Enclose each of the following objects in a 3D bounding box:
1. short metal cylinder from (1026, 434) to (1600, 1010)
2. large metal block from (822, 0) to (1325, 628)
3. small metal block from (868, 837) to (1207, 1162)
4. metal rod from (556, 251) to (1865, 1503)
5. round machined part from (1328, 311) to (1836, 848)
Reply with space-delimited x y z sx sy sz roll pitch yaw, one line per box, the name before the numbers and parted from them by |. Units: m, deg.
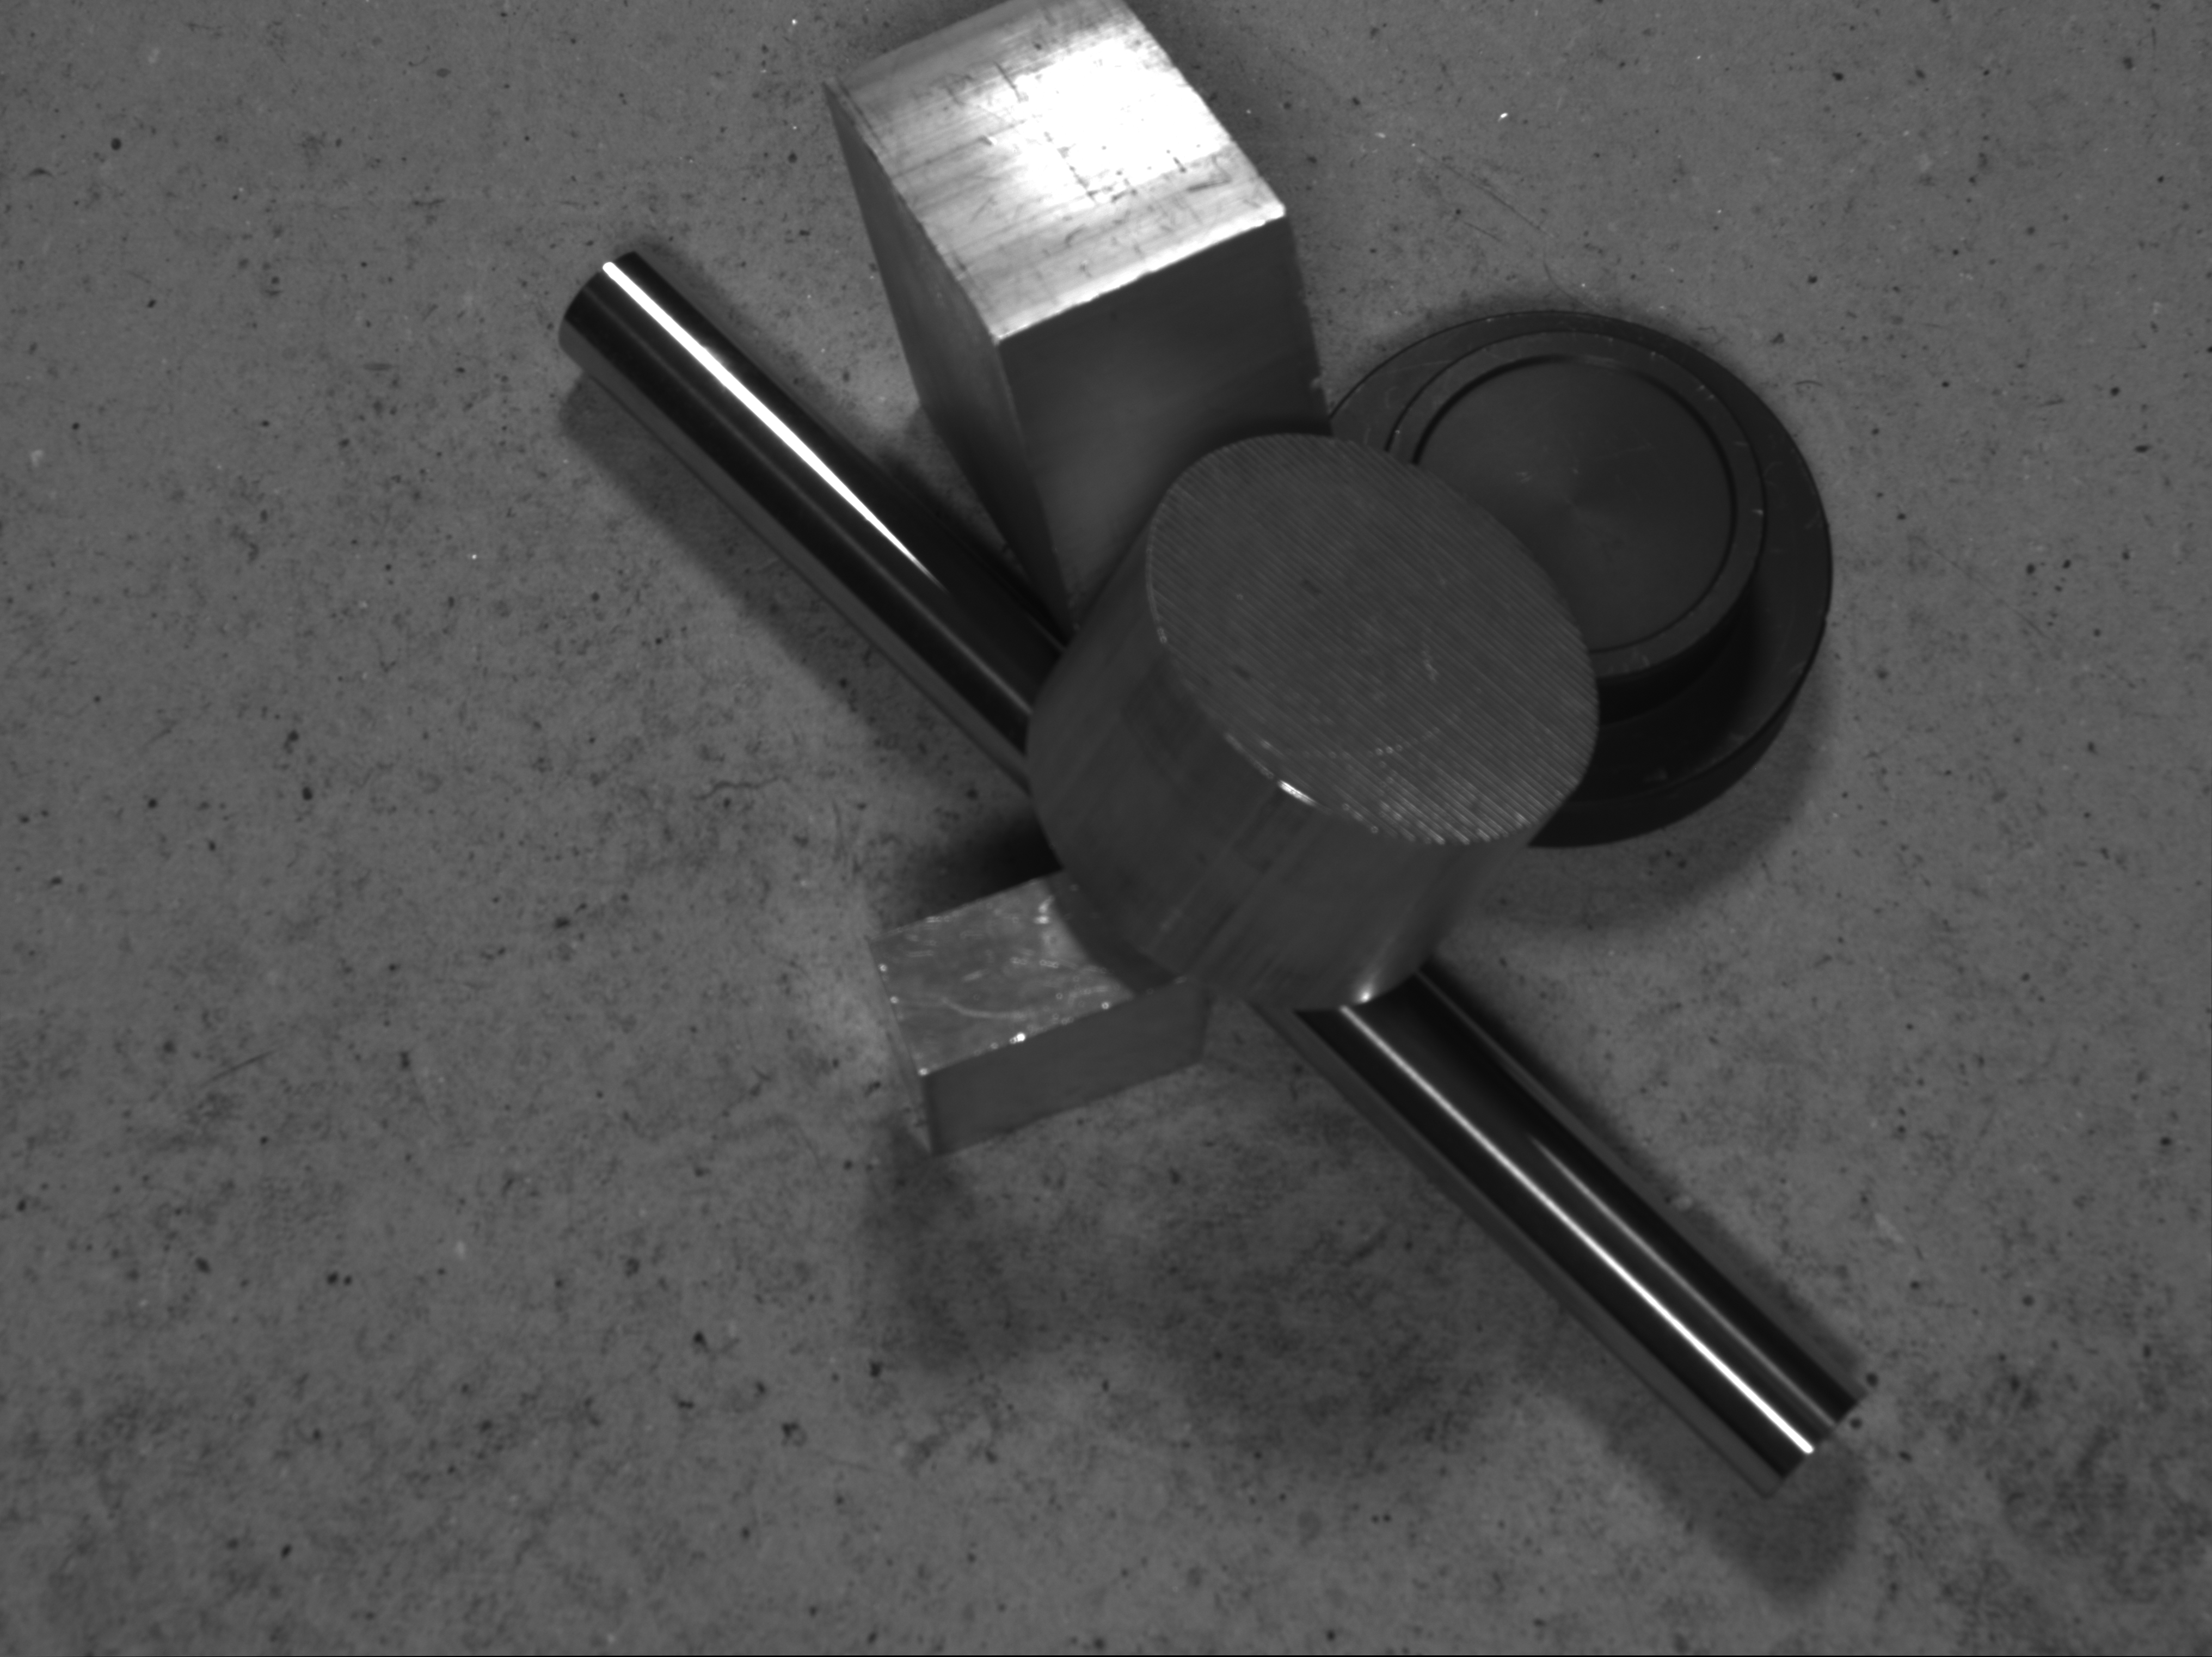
short metal cylinder | 0.033 -0.017 0.598 0.080 0.050 0.080 14 50 -18
large metal block | -0.003 -0.089 0.637 0.050 0.080 0.080 -25 50 -7
small metal block | -0.011 0.030 0.621 0.050 0.050 0.025 -20 70 -8
metal rod | 0.012 0.003 0.644 0.025 0.025 0.300 -43 75 -14
round machined part | 0.081 -0.049 0.653 0.098 0.042 0.098 0 70 0
